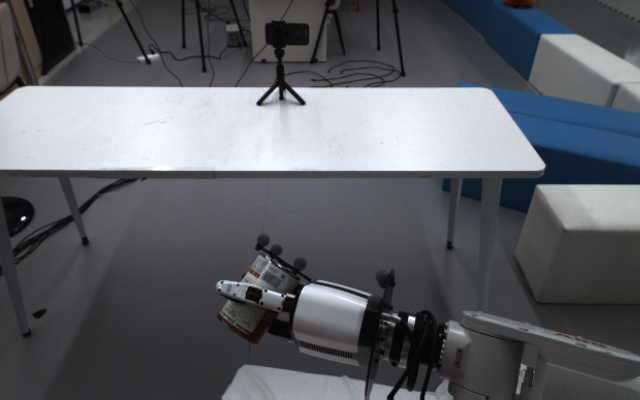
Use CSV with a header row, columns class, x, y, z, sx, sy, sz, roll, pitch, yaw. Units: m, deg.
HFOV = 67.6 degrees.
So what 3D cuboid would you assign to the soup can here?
class,x,y,z,sx,sy,sz,roll,pitch,yaw
soup can,-0.078,0.131,0.643,0.067,0.067,0.101,27,78,31
